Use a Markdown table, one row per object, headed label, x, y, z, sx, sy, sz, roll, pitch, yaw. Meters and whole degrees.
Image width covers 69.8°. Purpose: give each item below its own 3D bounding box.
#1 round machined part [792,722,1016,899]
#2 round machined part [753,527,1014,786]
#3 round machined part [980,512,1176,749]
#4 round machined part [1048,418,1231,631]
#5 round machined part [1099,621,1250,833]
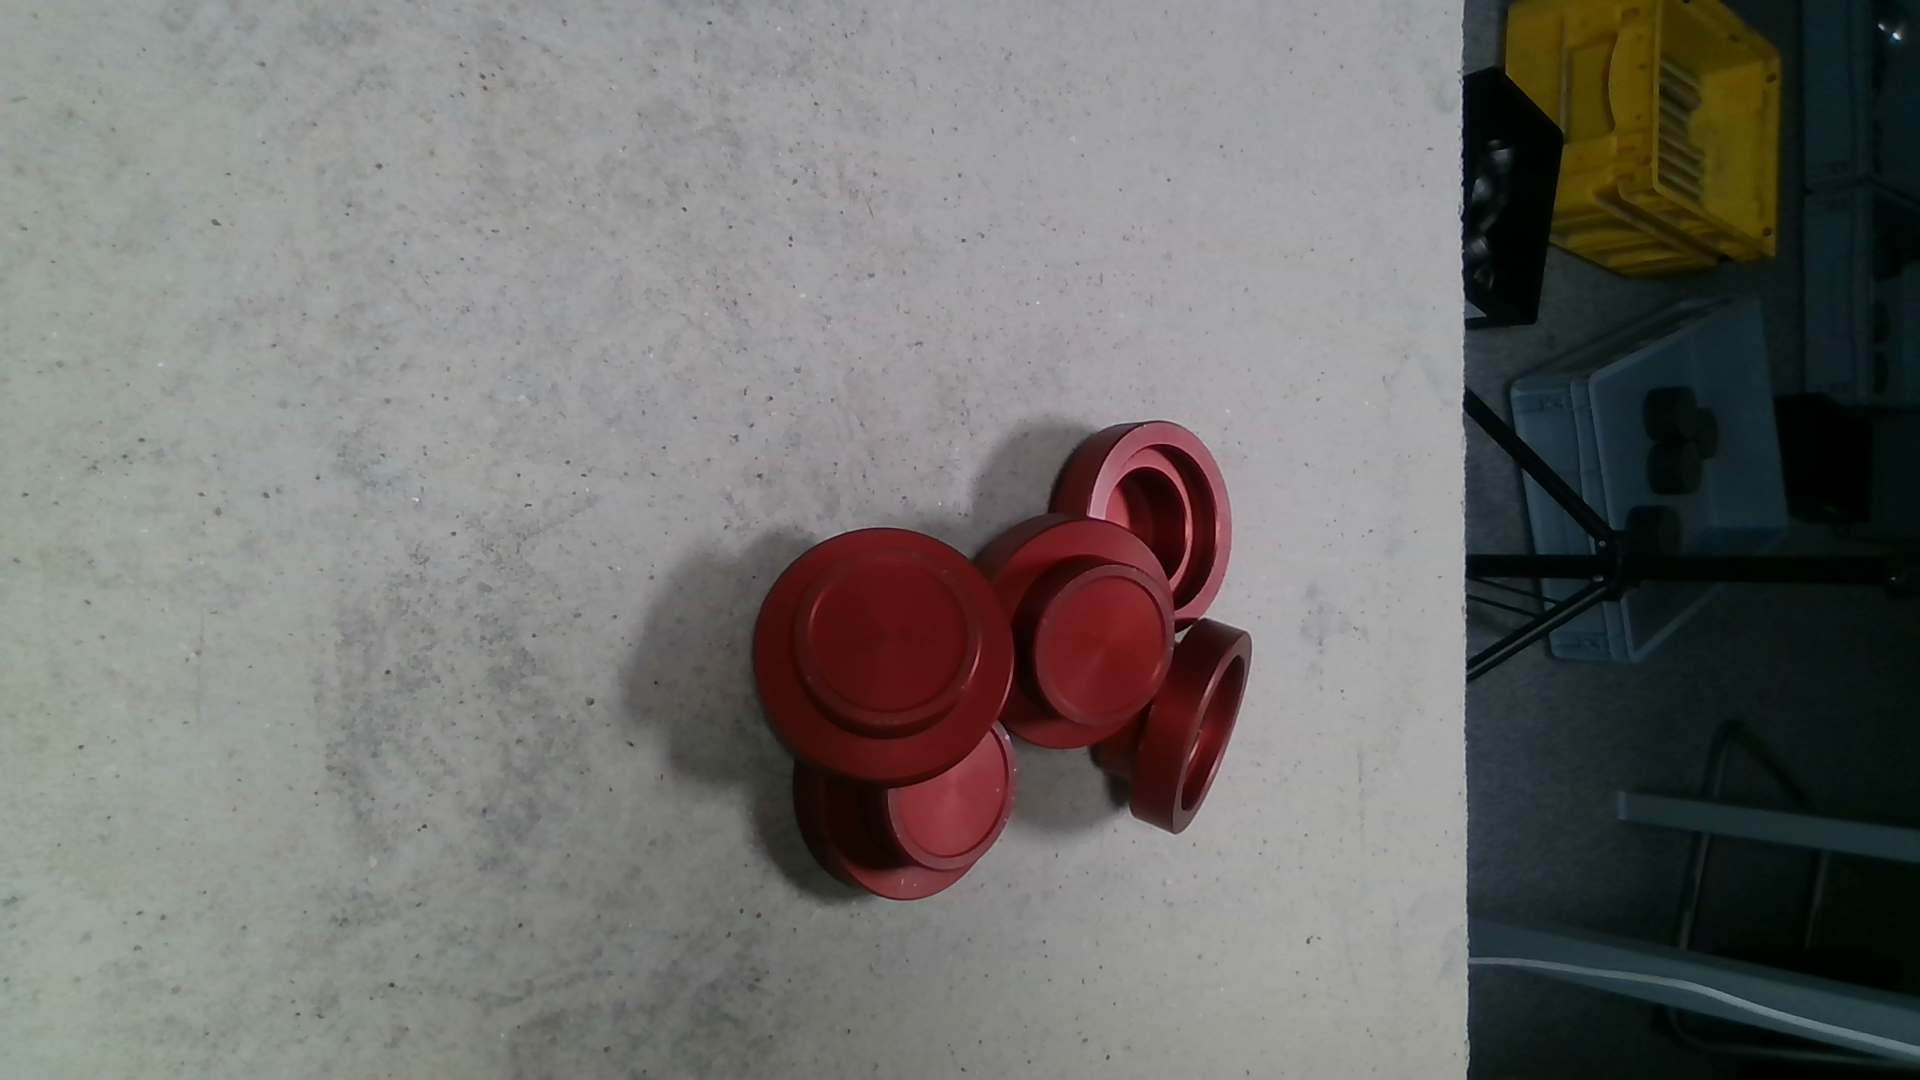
| label | x | y | z | sx | sy | sz | roll | pitch | yaw |
| --- | --- | --- | --- | --- | --- | --- | --- | --- | --- |
| round machined part | -0.016 | 0.097 | 0.559 | 0.098 | 0.042 | 0.098 | 0 | 90 | -40 |
| round machined part | -0.028 | 0.041 | 0.515 | 0.098 | 0.042 | 0.098 | 2 | 70 | -6 |
| round machined part | 0.050 | 0.039 | 0.571 | 0.098 | 0.042 | 0.098 | -5 | 101 | -29 |
| round machined part | 0.079 | -0.006 | 0.639 | 0.098 | 0.042 | 0.098 | 0 | 90 | -40 |
| round machined part | 0.097 | 0.082 | 0.636 | 0.098 | 0.042 | 0.098 | -48 | 148 | -44 |
